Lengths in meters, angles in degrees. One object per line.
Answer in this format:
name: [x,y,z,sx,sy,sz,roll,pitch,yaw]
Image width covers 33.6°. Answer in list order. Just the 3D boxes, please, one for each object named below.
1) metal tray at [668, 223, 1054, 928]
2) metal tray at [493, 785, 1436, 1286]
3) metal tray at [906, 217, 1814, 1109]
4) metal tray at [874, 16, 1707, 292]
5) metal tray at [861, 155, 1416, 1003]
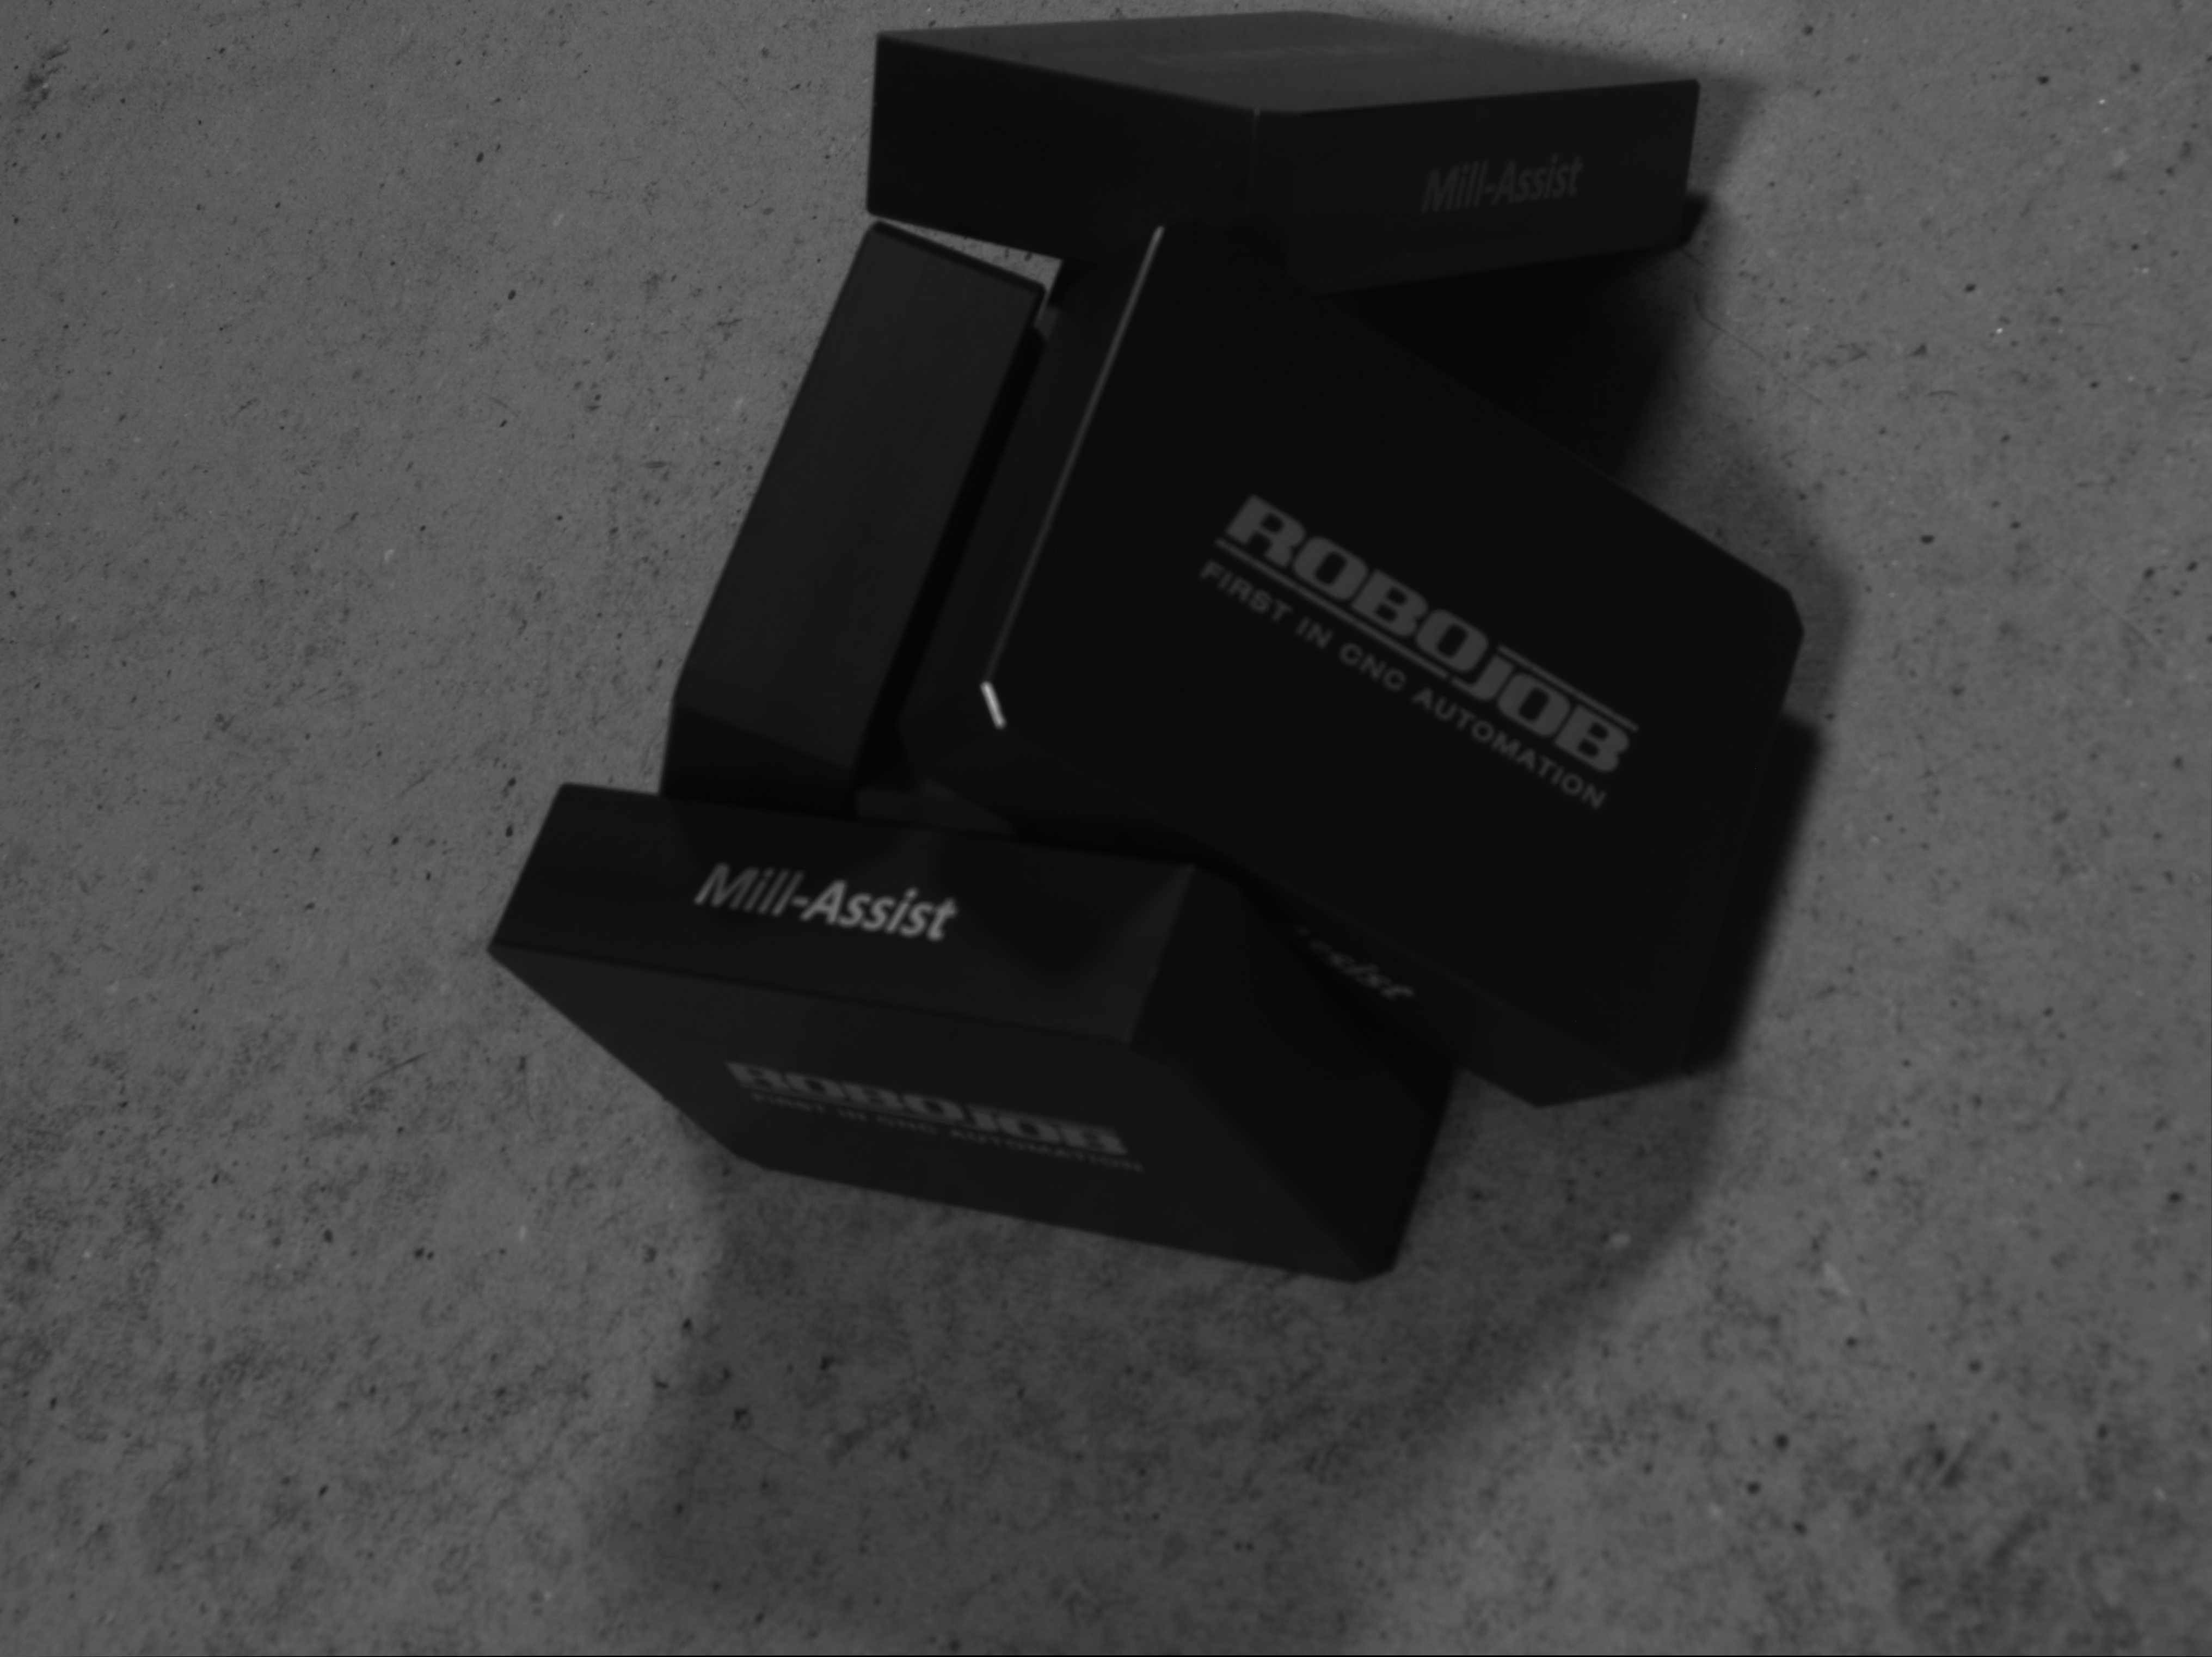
metal tray: [-0.046,-0.033,0.627,0.030,0.130,0.090,21,68,-2]
metal tray: [-0.023,0.033,0.593,0.130,0.090,0.030,7,65,32]
metal tray: [0.043,-0.024,0.571,0.030,0.130,0.090,-21,45,59]
metal tray: [0.034,-0.121,0.641,0.090,0.130,0.030,19,113,35]
metal tray: [0.013,-0.037,0.618,0.030,0.090,0.130,7,65,32]
